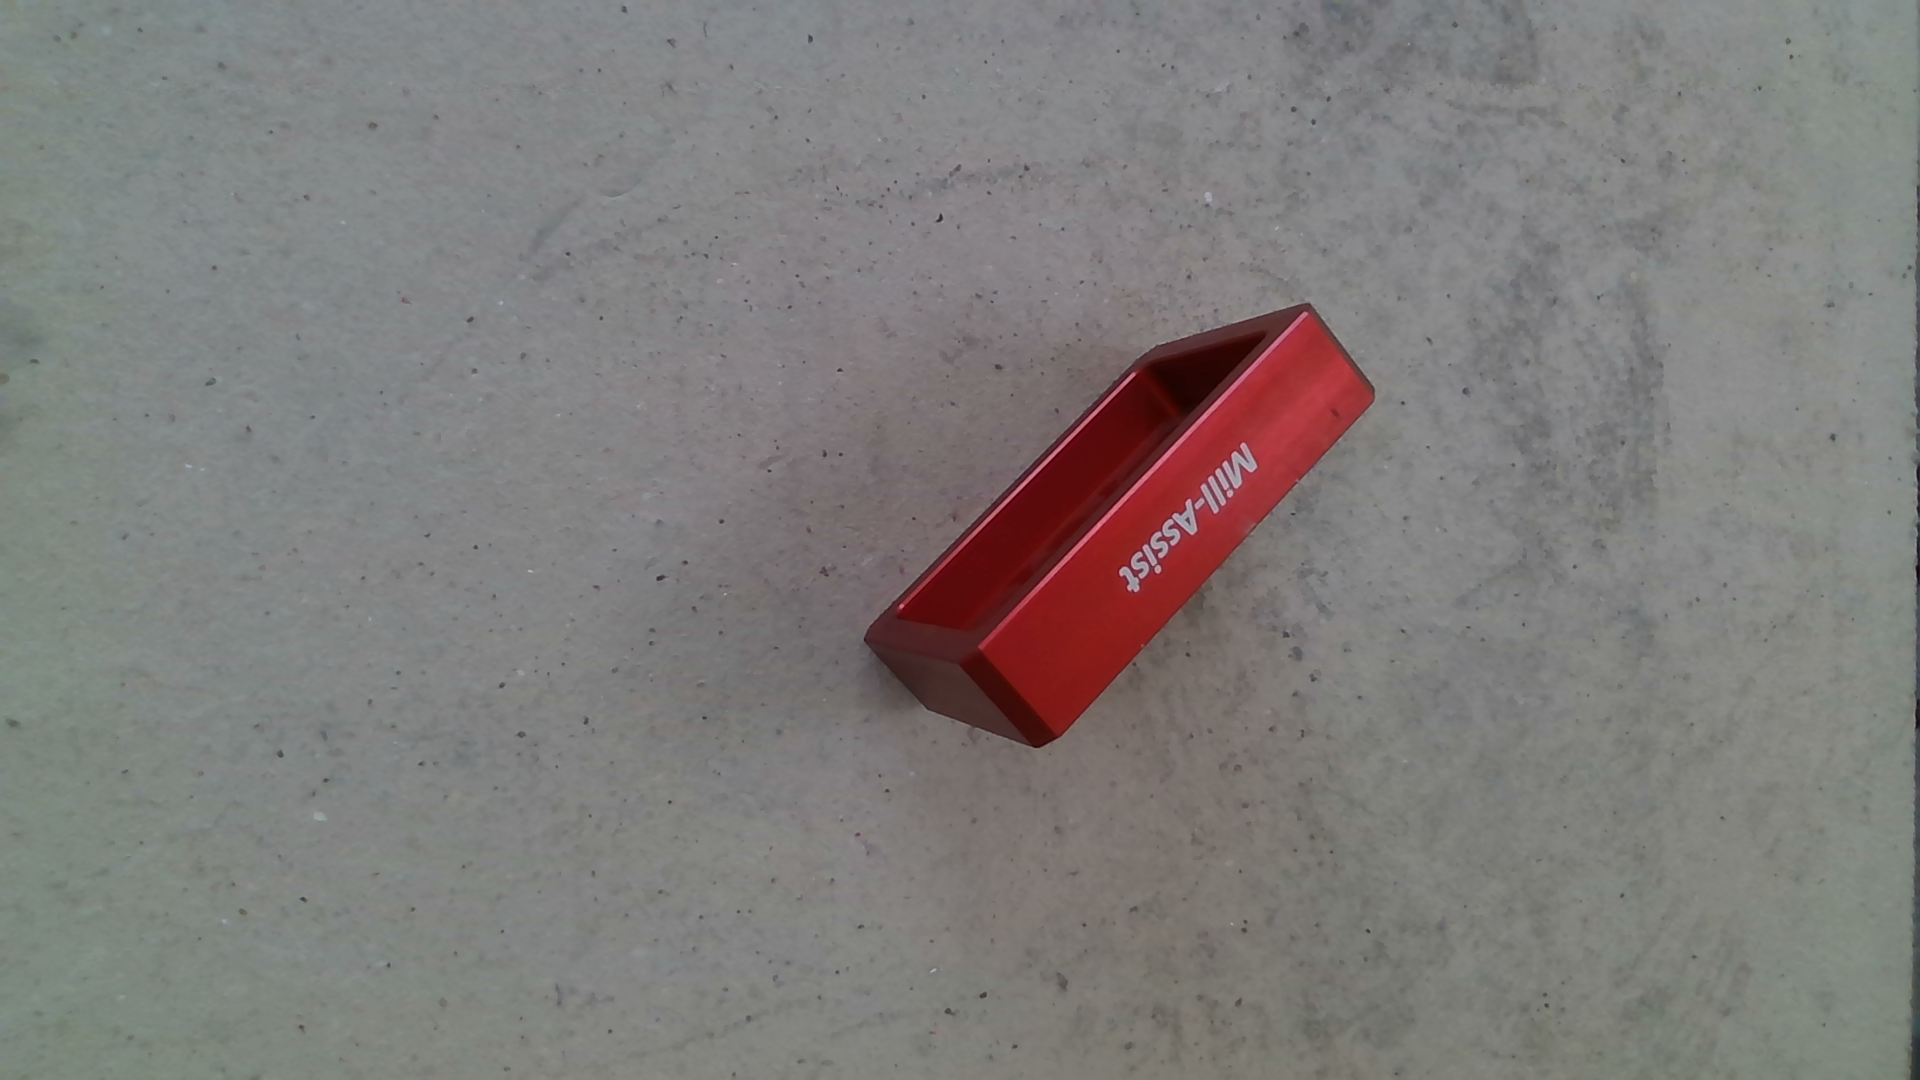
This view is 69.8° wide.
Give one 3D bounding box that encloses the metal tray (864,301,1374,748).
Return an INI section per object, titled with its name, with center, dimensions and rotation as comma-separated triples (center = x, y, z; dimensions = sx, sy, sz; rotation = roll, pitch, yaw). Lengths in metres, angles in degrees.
[metal tray]
center = 0.040, -0.006, 0.374
dimensions = 0.130, 0.090, 0.030
rotation = -45, 104, -14
